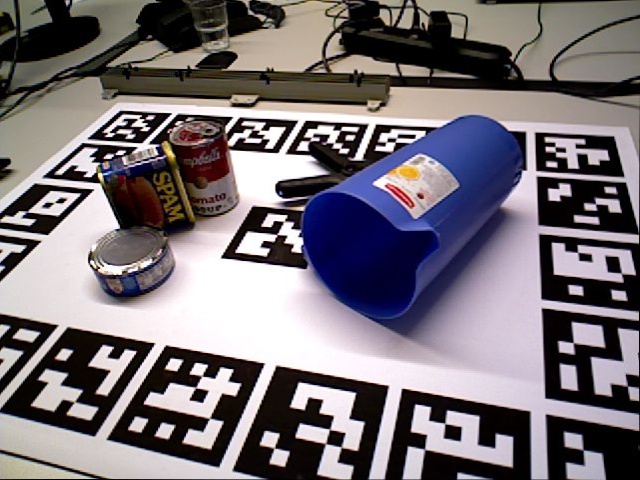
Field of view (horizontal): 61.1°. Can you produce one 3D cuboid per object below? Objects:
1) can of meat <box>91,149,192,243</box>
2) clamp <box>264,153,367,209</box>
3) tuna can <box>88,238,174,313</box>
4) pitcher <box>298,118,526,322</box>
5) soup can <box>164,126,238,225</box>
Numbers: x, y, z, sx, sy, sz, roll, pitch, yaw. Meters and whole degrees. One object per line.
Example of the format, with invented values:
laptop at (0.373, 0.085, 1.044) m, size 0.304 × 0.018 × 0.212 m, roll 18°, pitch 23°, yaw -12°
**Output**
can of meat at (-0.206, -0.043, 0.632) m, size 0.083 × 0.104 × 0.057 m, roll -20°, pitch 43°, yaw -10°
clamp at (0.024, -0.069, 0.698) m, size 0.165 × 0.037 × 0.119 m, roll 9°, pitch 39°, yaw 14°
tuna can at (-0.205, 0.038, 0.594) m, size 0.085 × 0.034 × 0.084 m, roll -5°, pitch 42°, yaw 4°
pitcher at (0.101, -0.036, 0.550) m, size 0.191 × 0.135 × 0.237 m, roll 1°, pitch 28°, yaw 44°
soup can at (-0.144, -0.079, 0.671) m, size 0.068 × 0.104 × 0.067 m, roll -6°, pitch 41°, yaw 5°
